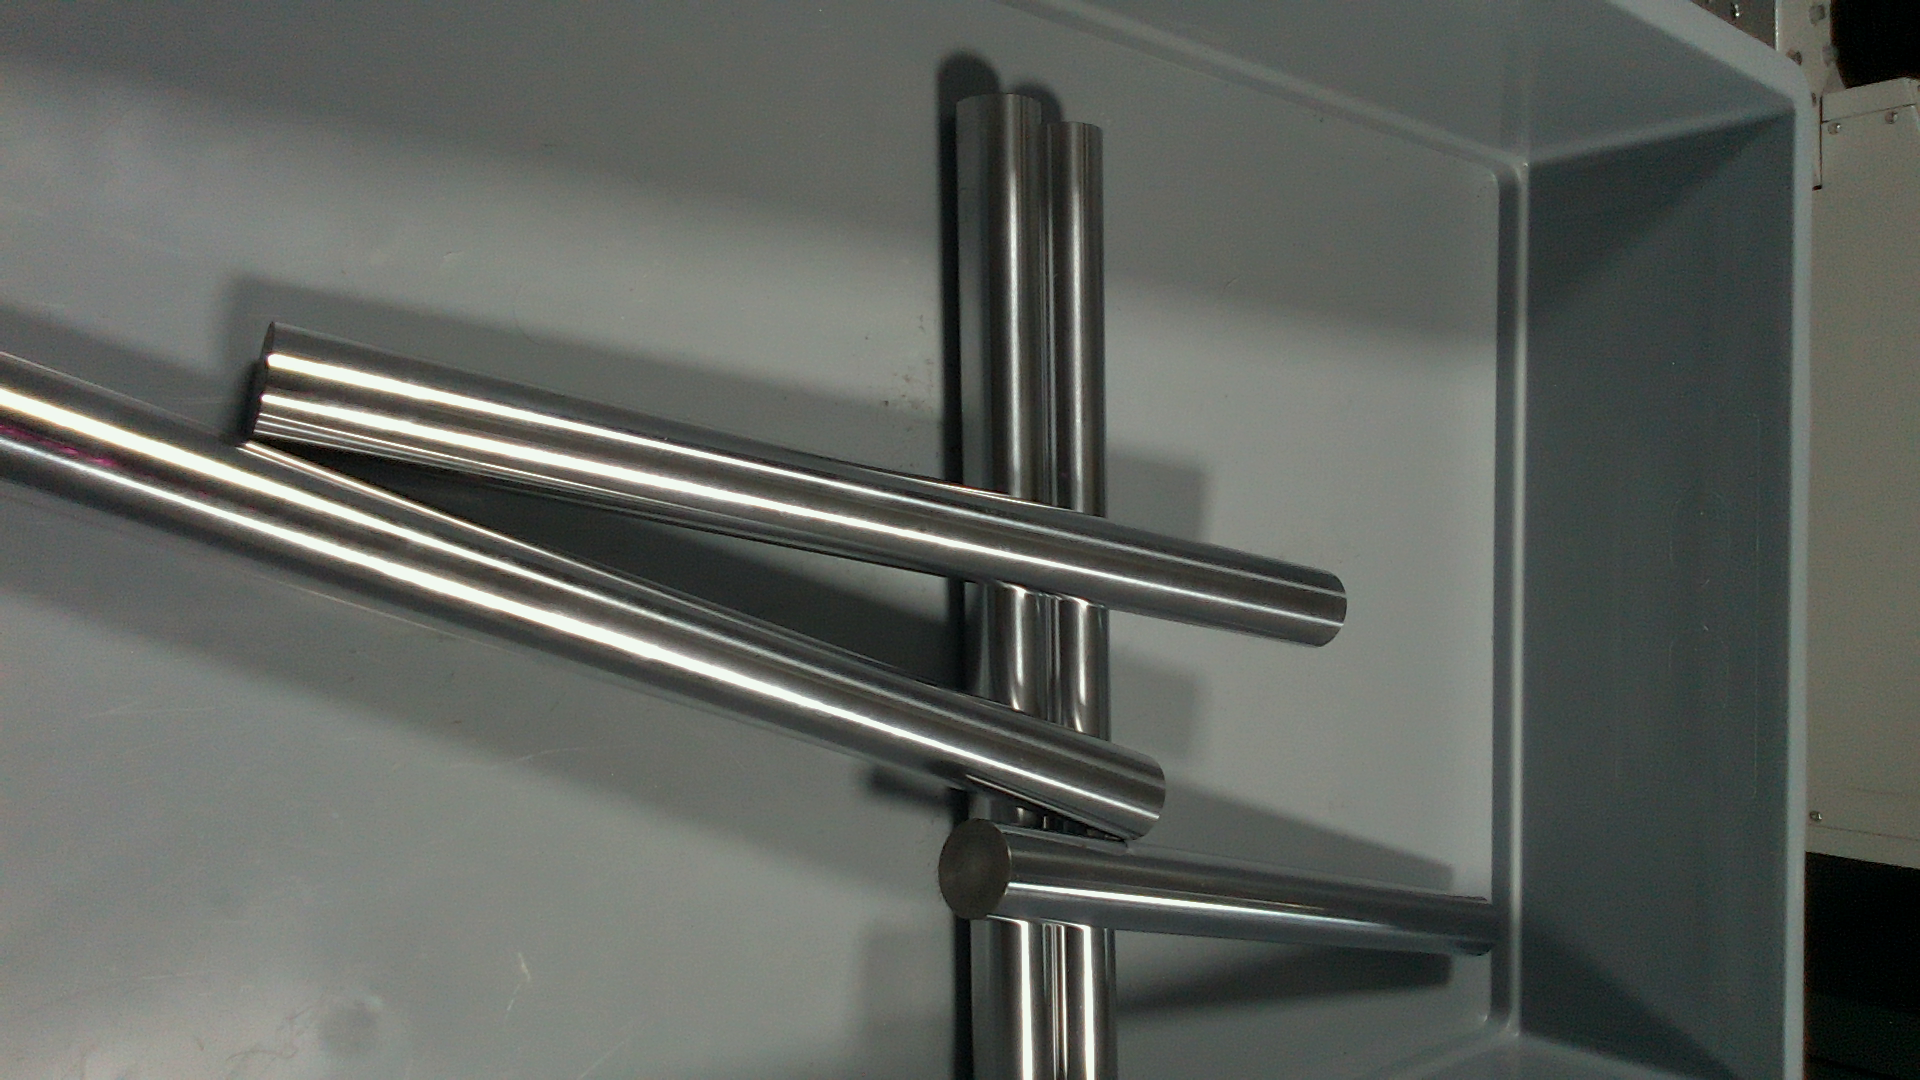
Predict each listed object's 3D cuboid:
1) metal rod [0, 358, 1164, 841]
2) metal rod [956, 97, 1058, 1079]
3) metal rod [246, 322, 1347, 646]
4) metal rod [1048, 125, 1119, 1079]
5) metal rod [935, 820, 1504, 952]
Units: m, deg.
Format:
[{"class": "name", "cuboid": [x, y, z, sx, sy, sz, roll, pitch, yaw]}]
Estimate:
[{"class": "metal rod", "cuboid": [-0.068, 0.024, 0.314, 0.301, 0.025, 0.025, 23, 76, -32]}, {"class": "metal rod", "cuboid": [0.014, 0.027, 0.397, 0.025, 0.025, 0.300, -2, 91, -40]}, {"class": "metal rod", "cuboid": [-0.013, -0.005, 0.351, 0.301, 0.025, 0.025, 12, 82, -32]}, {"class": "metal rod", "cuboid": [0.034, 0.029, 0.414, 0.025, 0.025, 0.300, -1, 91, -40]}, {"class": "metal rod", "cuboid": [0.105, 0.119, 0.453, 0.301, 0.025, 0.025, 19, 78, -44]}]
